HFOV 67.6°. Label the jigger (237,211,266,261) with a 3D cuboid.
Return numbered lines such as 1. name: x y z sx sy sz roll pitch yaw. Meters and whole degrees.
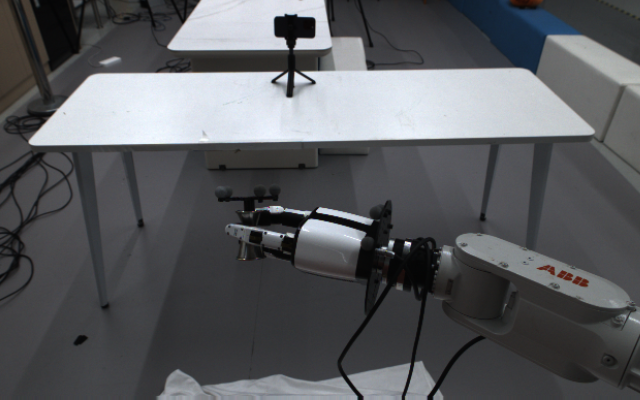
1. jigger: -0.099 0.048 0.685 0.043 0.071 0.043 -2 3 0
